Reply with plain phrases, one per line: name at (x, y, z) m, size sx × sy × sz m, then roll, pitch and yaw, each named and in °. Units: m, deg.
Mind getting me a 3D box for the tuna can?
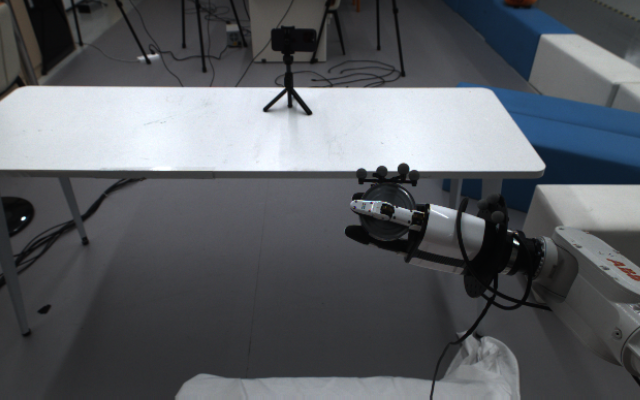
tuna can at (0.101, 0.017, 0.726) m, size 0.085 × 0.034 × 0.085 m, roll -1°, pitch 76°, yaw 4°
